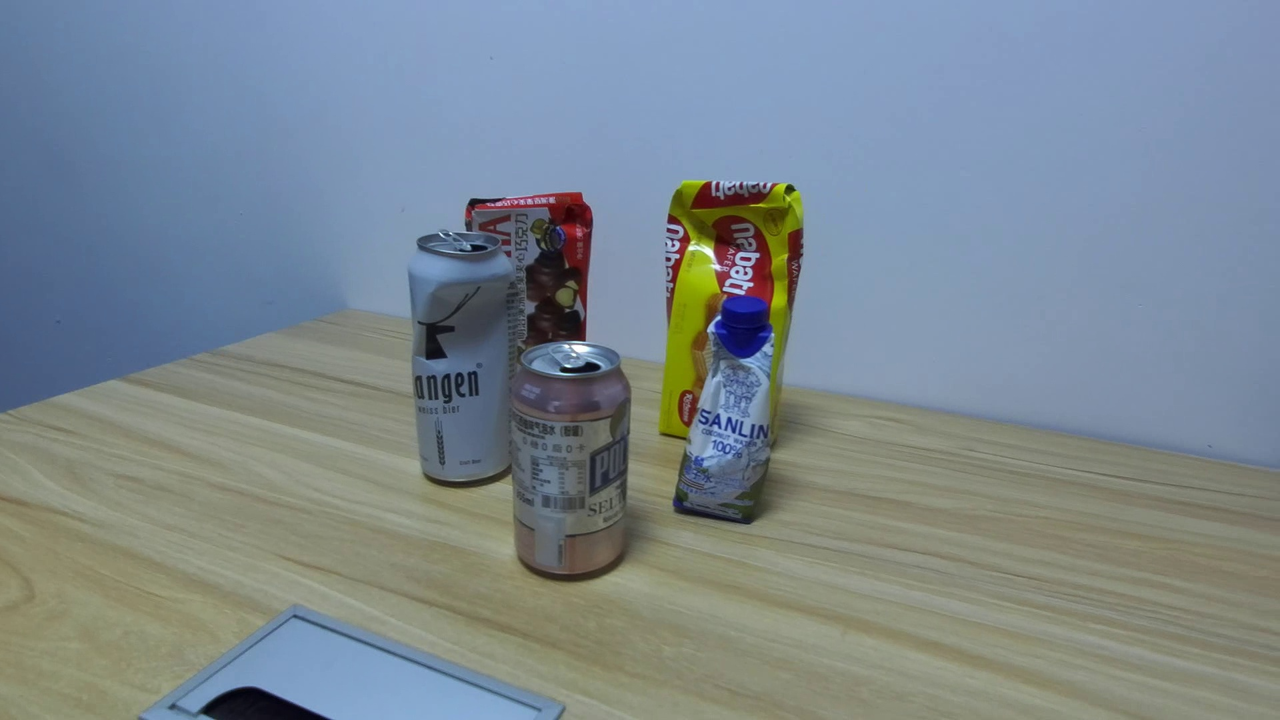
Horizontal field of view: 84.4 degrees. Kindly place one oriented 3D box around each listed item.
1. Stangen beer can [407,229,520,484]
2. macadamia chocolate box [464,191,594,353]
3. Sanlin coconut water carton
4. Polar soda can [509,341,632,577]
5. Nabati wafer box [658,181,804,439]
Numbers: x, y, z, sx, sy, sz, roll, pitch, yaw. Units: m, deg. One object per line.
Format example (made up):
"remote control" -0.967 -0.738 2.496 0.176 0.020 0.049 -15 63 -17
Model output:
"Stangen beer can" -0.121 -0.001 0.486 0.070 0.173 0.070 9 21 18
"macadamia chocolate box" -0.091 -0.047 0.597 0.103 0.187 0.027 -4 24 -14
"Sanlin coconut water carton" 0.064 0.029 0.465 0.056 0.144 0.068 12 12 6
"Polar soda can" -0.039 0.056 0.404 0.067 0.125 0.067 2 19 0
"Nabati wafer box" 0.068 -0.033 0.549 0.113 0.205 0.043 9 19 21
